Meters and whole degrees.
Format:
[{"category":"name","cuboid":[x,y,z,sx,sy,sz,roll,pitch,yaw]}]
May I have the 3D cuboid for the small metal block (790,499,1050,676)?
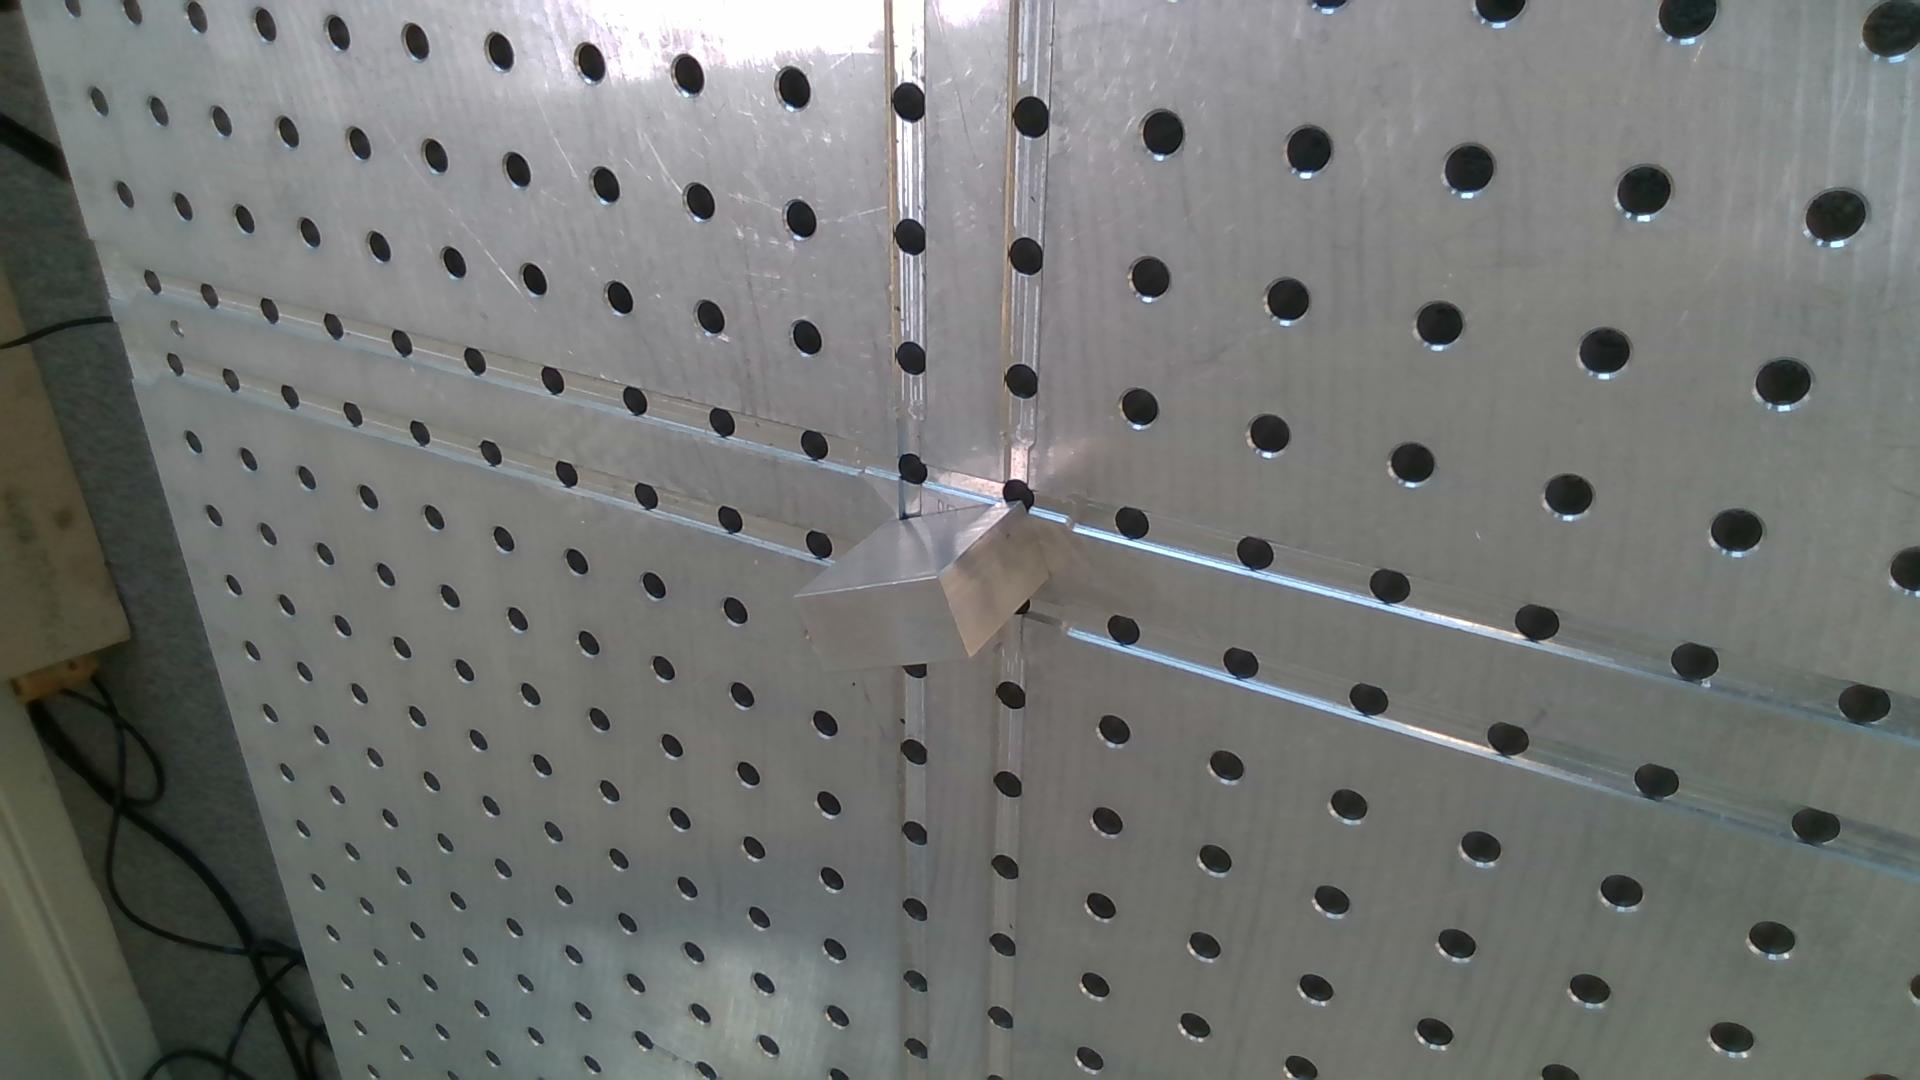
[{"category":"small metal block","cuboid":[-0.010,0.013,0.389,0.050,0.050,0.025,-9,110,35]}]
